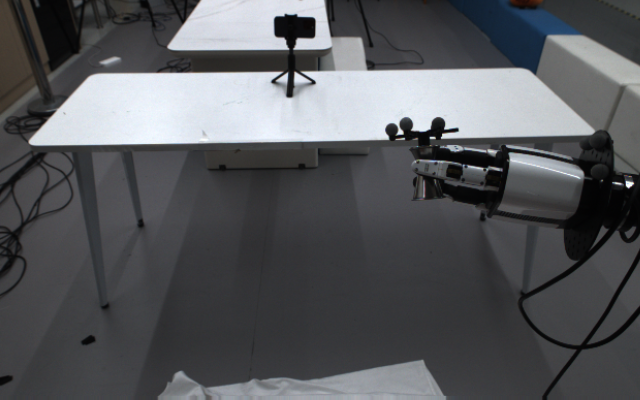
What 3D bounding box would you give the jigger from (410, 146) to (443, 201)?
[{"bbox_3d":[0.137,-0.036,0.628,0.043,0.071,0.043,-4,1,0],"label":"jigger"}]
